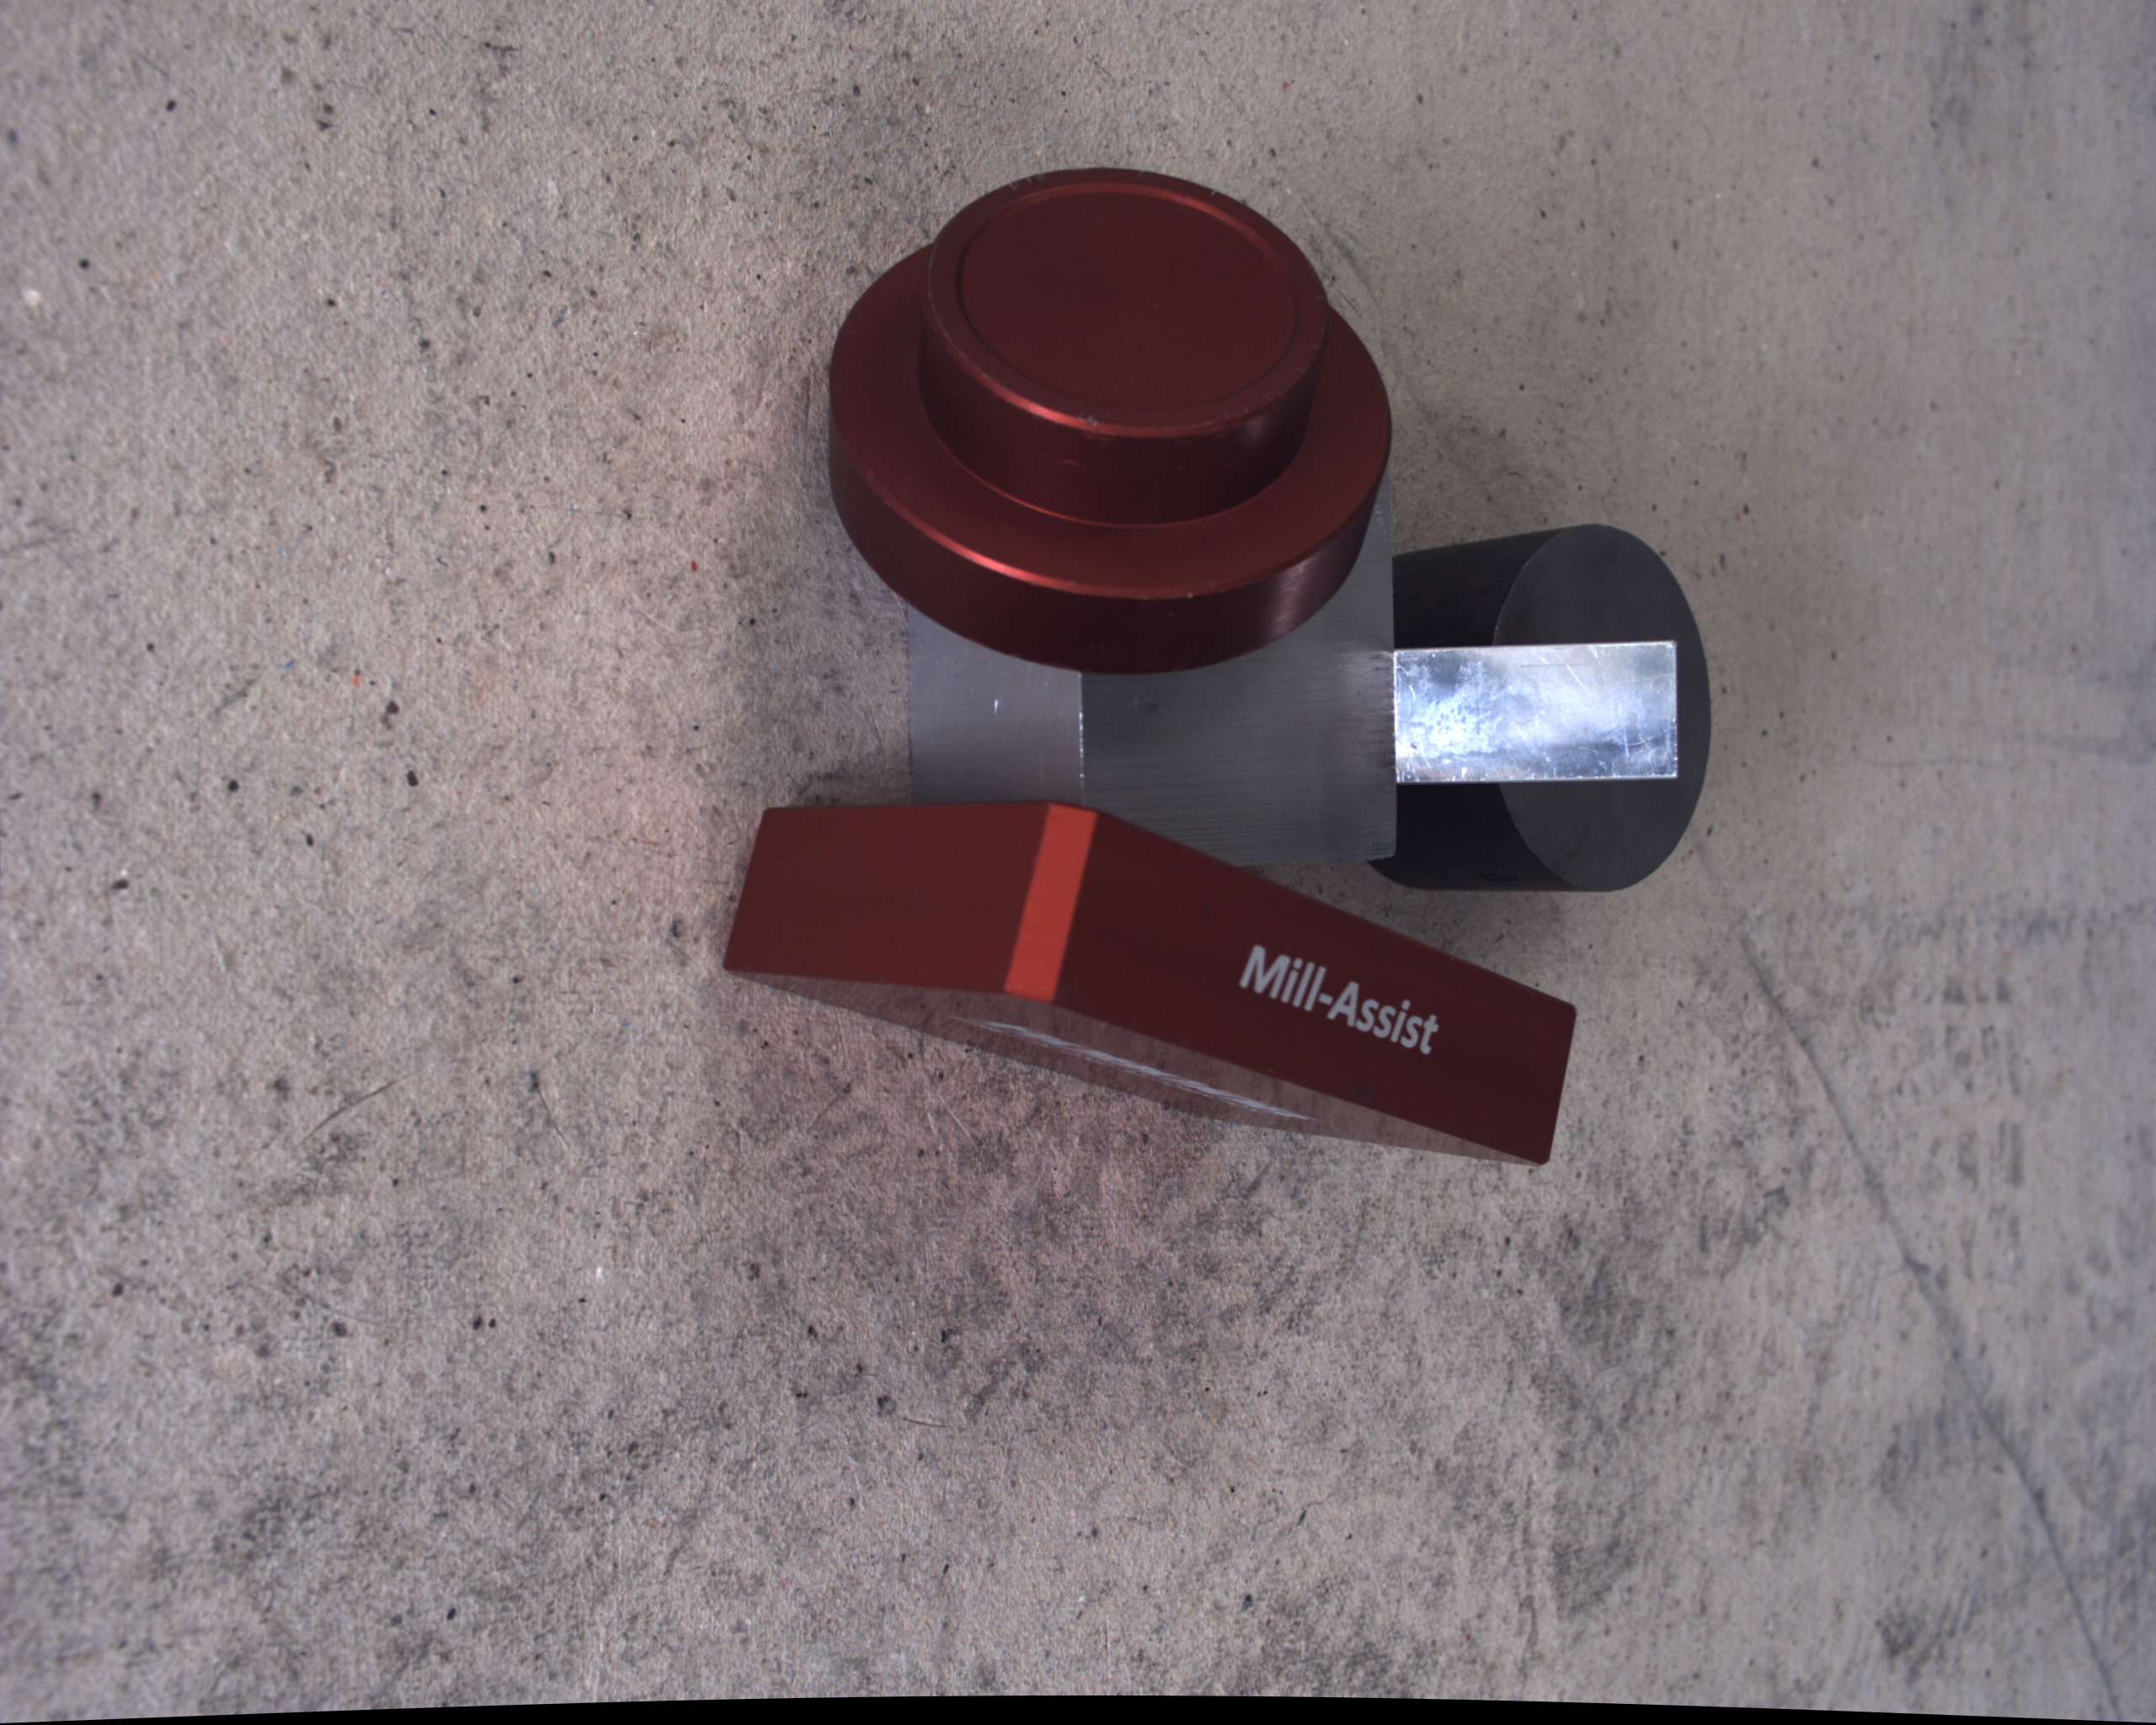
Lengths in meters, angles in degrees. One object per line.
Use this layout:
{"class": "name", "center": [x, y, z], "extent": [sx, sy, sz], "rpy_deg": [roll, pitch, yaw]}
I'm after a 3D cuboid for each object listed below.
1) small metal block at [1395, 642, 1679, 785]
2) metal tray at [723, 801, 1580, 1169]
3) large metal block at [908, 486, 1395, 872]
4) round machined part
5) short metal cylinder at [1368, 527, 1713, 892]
{"class": "small metal block", "center": [0.087, -0.029, 0.403], "extent": [0.050, 0.050, 0.025], "rpy_deg": [-30, 119, -80]}
{"class": "metal tray", "center": [0.015, 0.023, 0.376], "extent": [0.131, 0.090, 0.030], "rpy_deg": [21, 77, -38]}
{"class": "large metal block", "center": [0.015, -0.039, 0.403], "extent": [0.081, 0.050, 0.079], "rpy_deg": [-2, 92, -40]}
{"class": "round machined part", "center": [0.007, -0.083, 0.363], "extent": [0.098, 0.098, 0.042], "rpy_deg": [-44, 161, -31]}
{"class": "short metal cylinder", "center": [0.099, -0.033, 0.474], "extent": [0.081, 0.050, 0.080], "rpy_deg": [0, 90, -40]}
